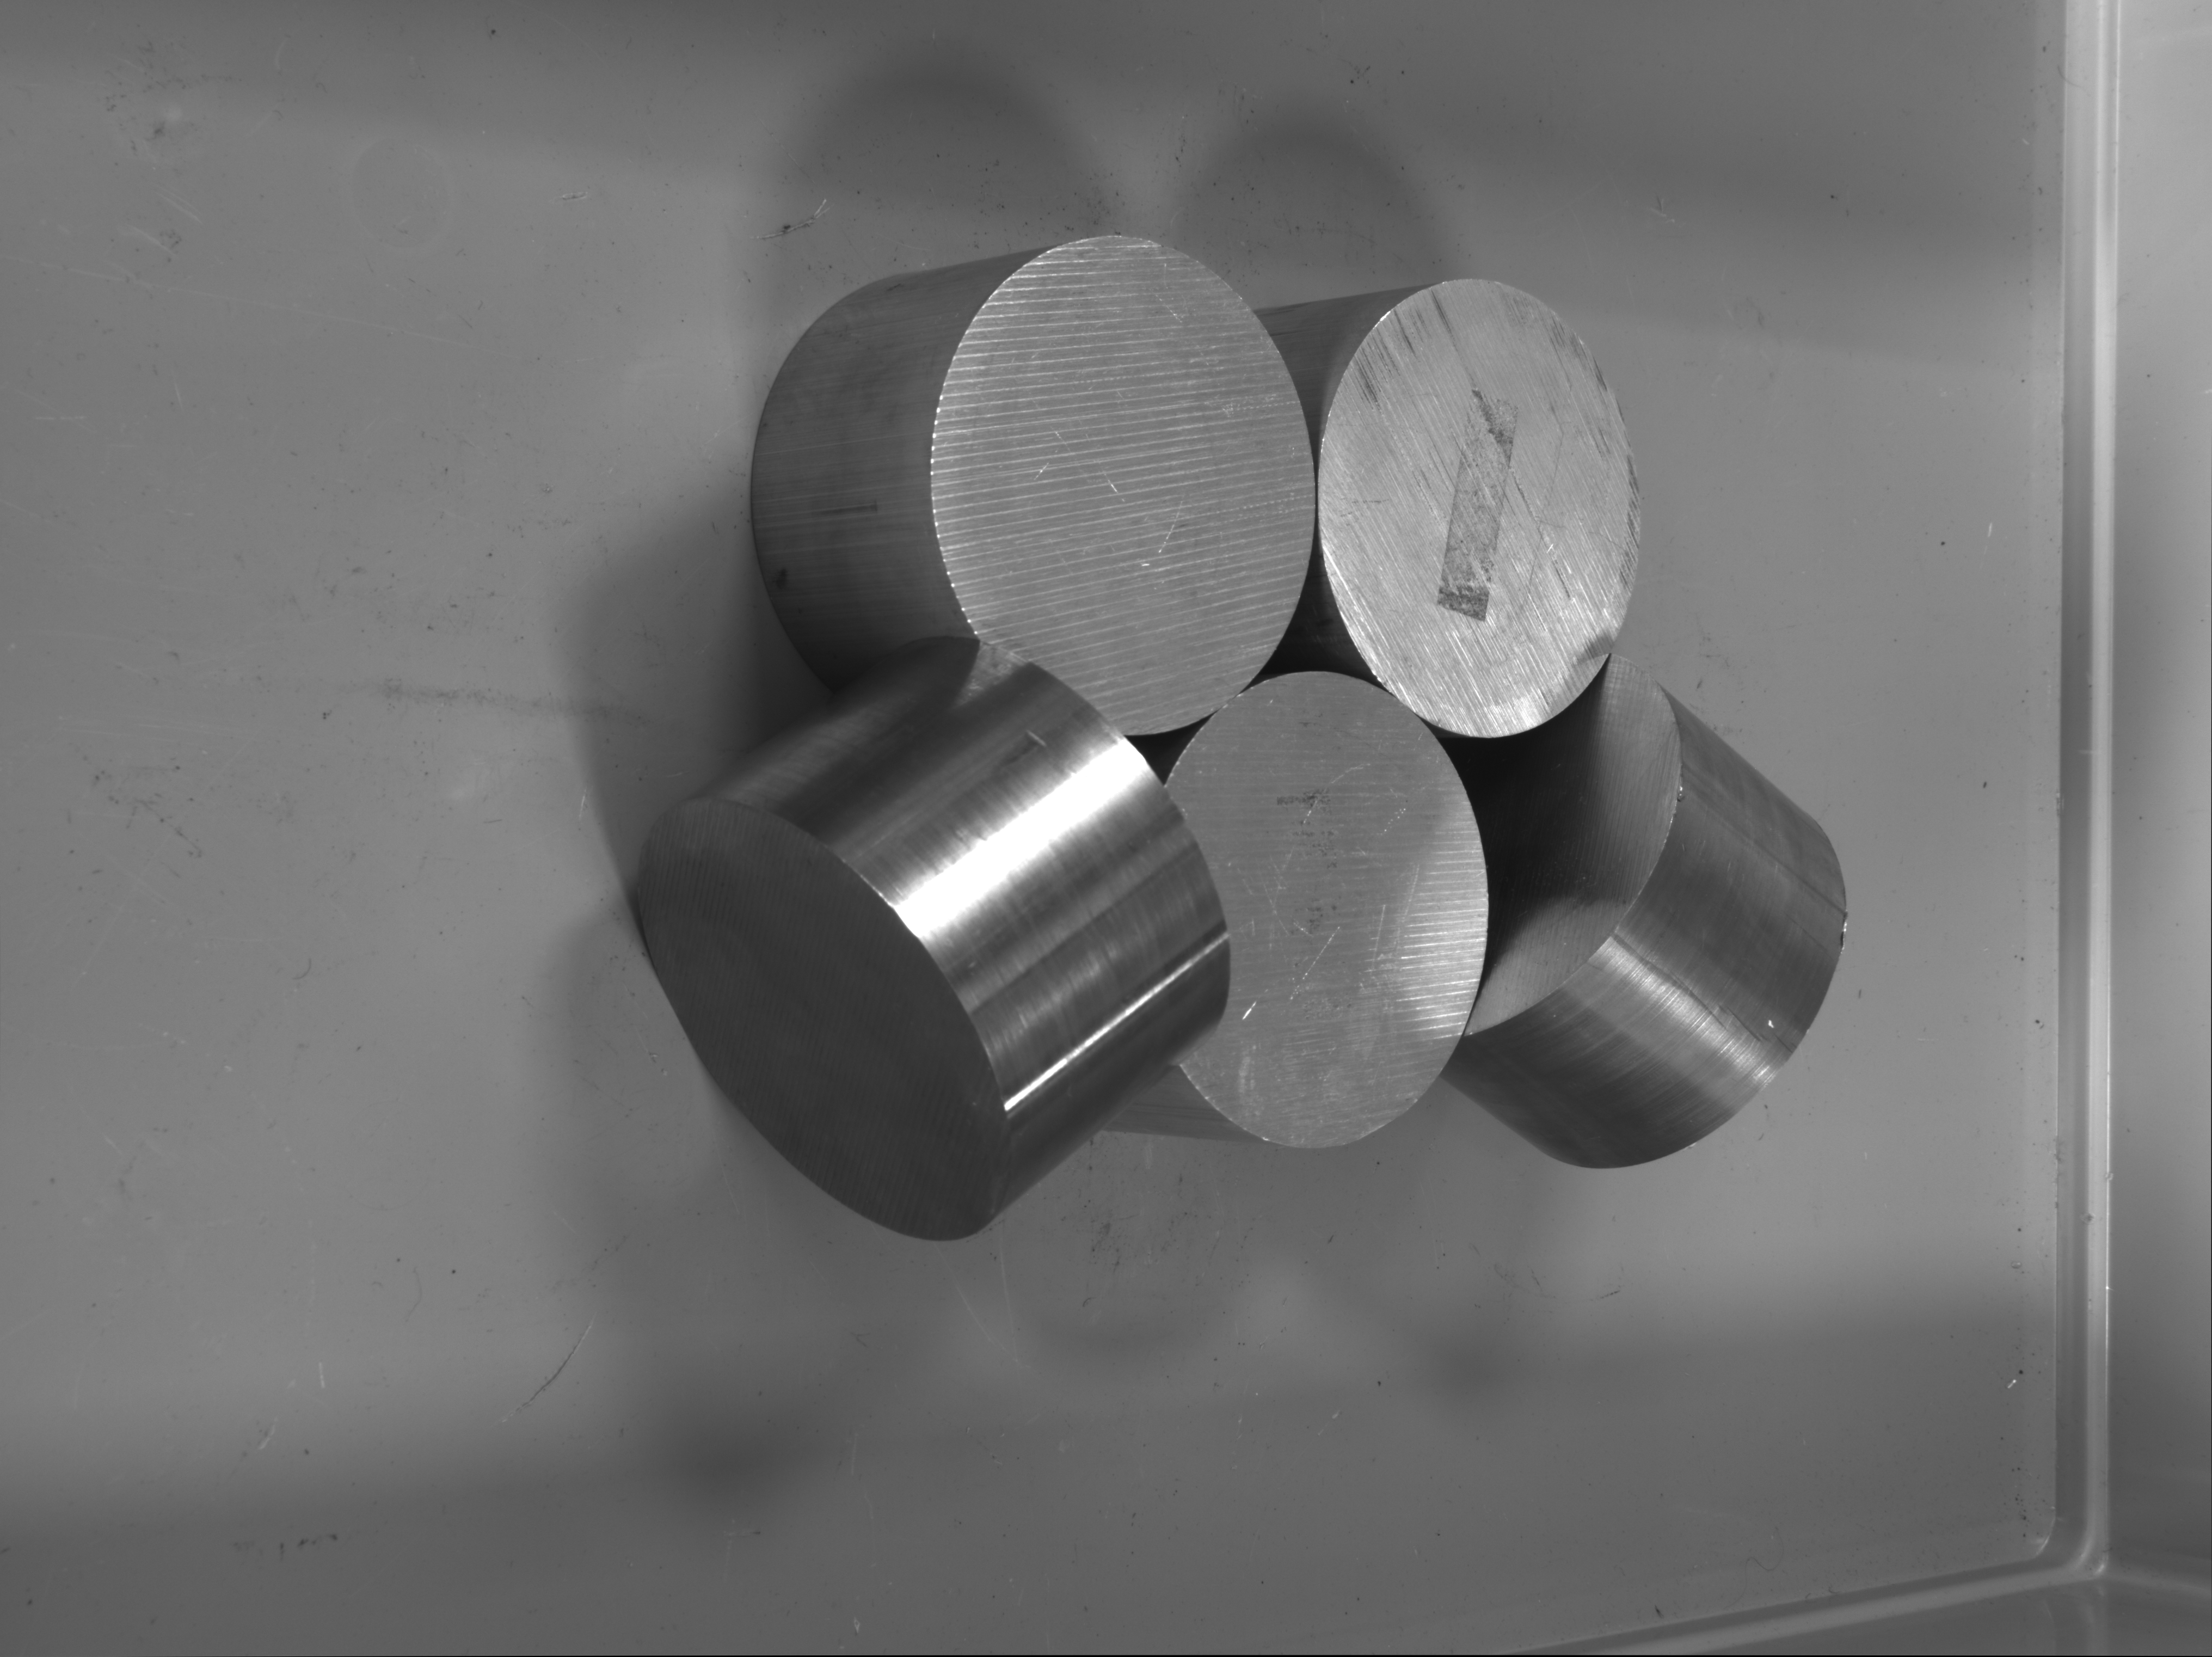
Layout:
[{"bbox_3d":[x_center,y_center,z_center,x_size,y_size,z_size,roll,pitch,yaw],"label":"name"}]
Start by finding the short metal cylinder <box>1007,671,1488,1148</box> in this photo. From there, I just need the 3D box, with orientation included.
[{"bbox_3d":[0.020,0.014,0.635,0.080,0.050,0.080,0,90,-40],"label":"short metal cylinder"}]

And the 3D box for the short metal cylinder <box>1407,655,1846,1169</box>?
[{"bbox_3d":[0.087,0.015,0.671,0.050,0.080,0.080,36,68,-33],"label":"short metal cylinder"}]

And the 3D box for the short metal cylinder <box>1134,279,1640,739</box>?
[{"bbox_3d":[0.050,-0.056,0.660,0.080,0.050,0.080,0,90,-40],"label":"short metal cylinder"}]

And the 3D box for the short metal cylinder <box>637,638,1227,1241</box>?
[{"bbox_3d":[-0.028,0.017,0.576,0.050,0.080,0.080,-37,113,-34],"label":"short metal cylinder"}]

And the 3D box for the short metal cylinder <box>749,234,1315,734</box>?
[{"bbox_3d":[-0.012,-0.055,0.608,0.080,0.050,0.080,0,90,-40],"label":"short metal cylinder"}]
